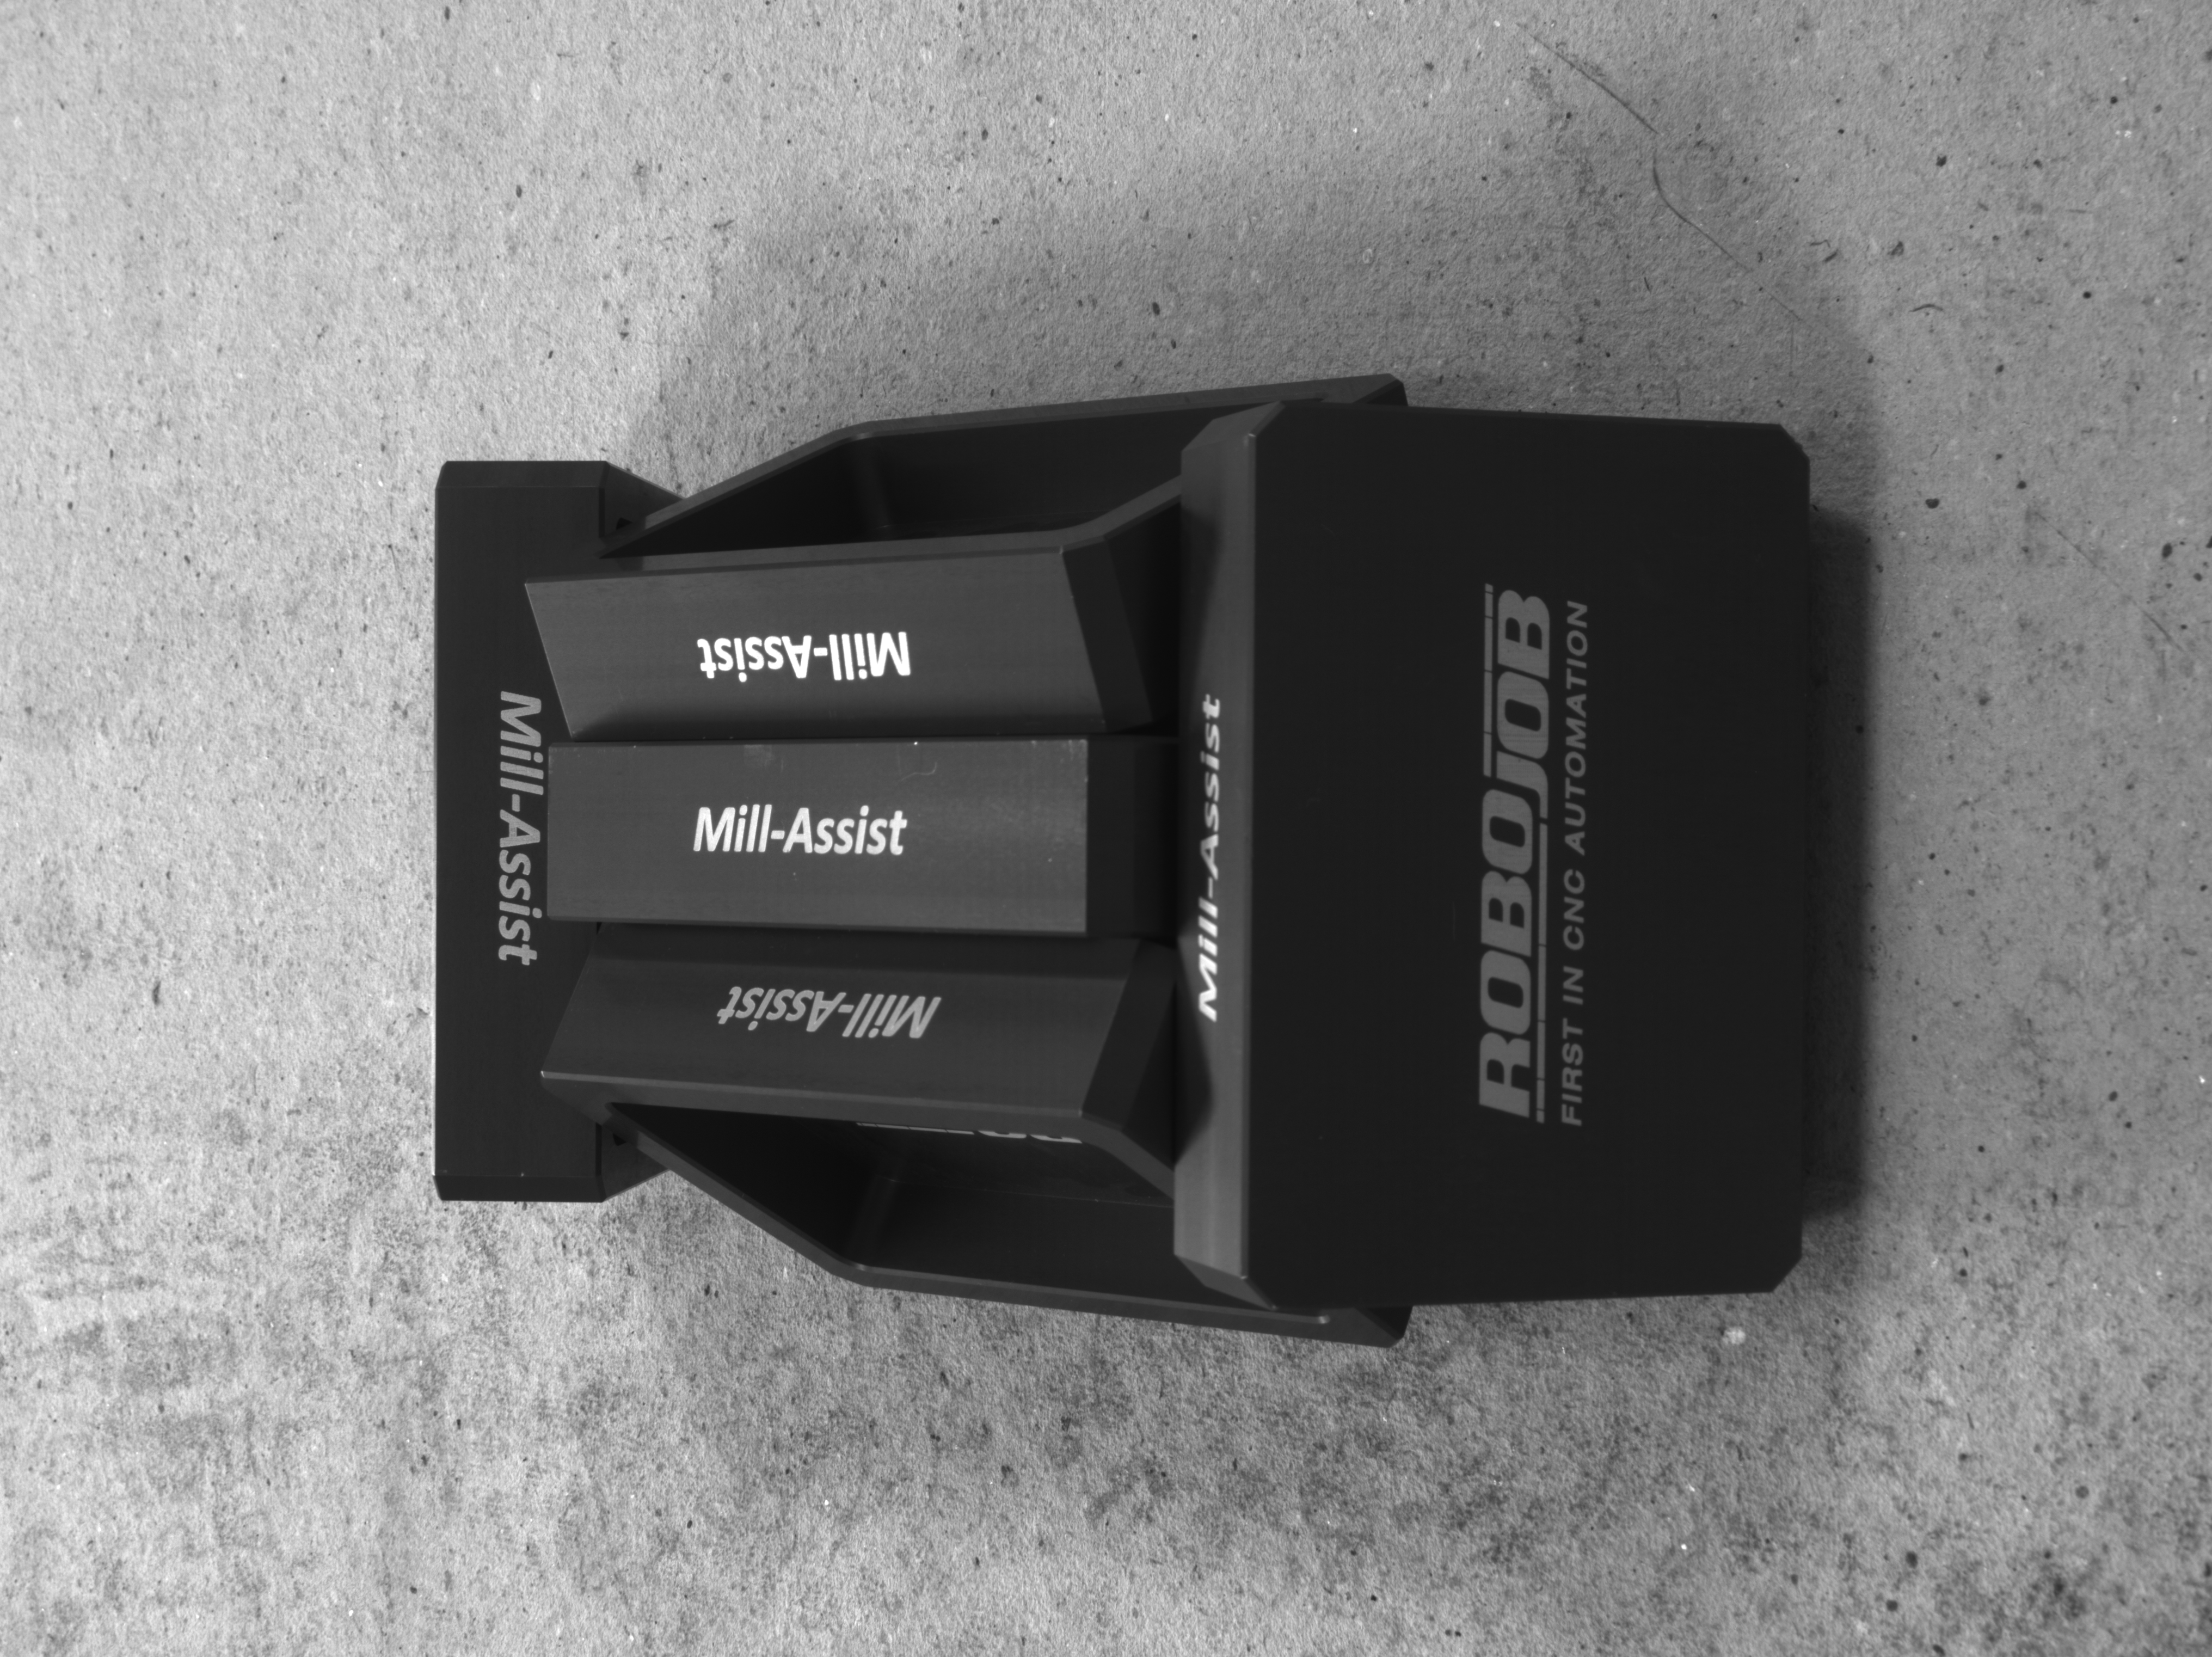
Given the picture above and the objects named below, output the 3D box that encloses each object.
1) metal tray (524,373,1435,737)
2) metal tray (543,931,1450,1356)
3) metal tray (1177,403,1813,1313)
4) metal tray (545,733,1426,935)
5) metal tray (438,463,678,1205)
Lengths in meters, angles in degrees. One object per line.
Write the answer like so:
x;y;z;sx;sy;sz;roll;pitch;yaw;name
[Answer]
-0.022;-0.045;0.618;0.130;0.090;0.030;0;112;40;metal tray
-0.019;0.051;0.618;0.130;0.090;0.030;1;61;40;metal tray
0.058;0.004;0.552;0.030;0.090;0.130;-178;89;-72;metal tray
-0.020;0.001;0.619;0.130;0.090;0.030;0;90;40;metal tray
-0.099;0.001;0.687;0.030;0.090;0.130;0;90;4;metal tray
